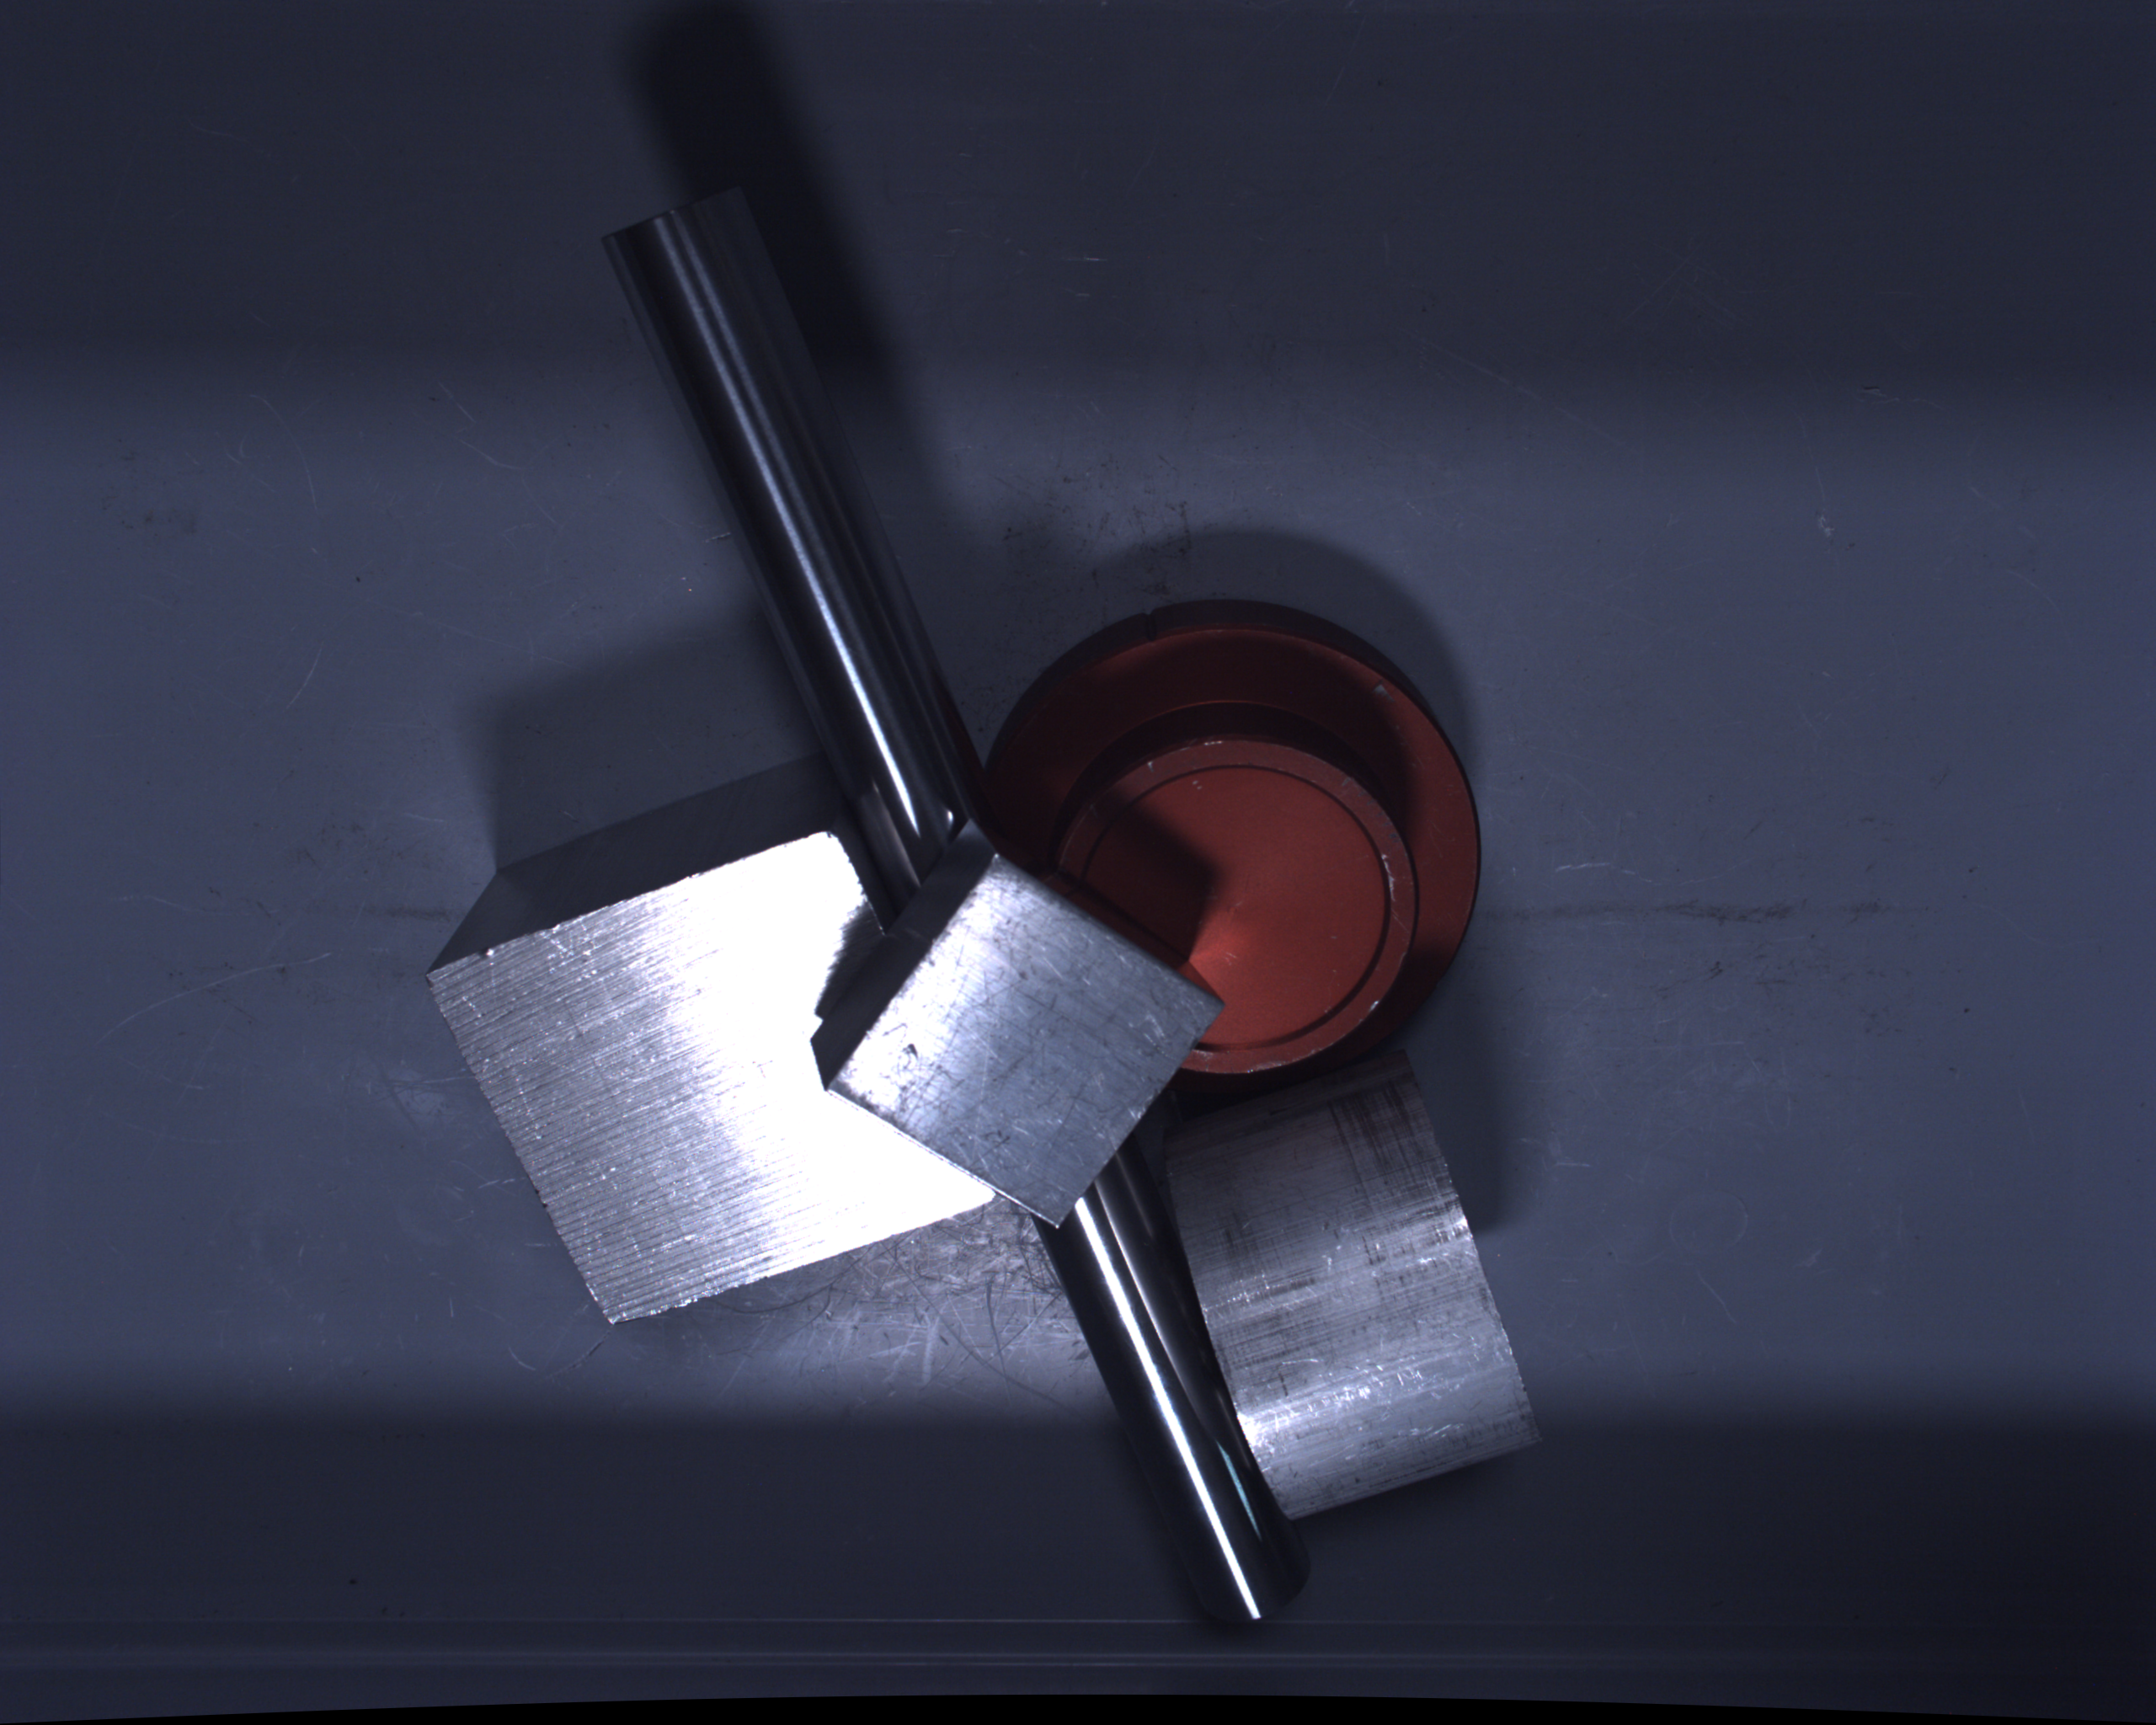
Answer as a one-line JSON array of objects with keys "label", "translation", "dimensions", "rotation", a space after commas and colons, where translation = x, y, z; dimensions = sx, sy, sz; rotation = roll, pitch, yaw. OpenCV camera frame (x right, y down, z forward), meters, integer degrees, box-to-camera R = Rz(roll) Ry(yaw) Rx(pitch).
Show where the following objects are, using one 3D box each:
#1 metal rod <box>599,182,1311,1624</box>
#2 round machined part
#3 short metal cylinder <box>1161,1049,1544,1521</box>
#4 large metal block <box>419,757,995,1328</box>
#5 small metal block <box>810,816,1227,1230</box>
[{"label": "metal rod", "translation": [-0.015, 0.022, 0.395], "dimensions": [0.025, 0.025, 0.299], "rotation": [-20, 109, 7]}, {"label": "round machined part", "translation": [0.029, 0.002, 0.401], "dimensions": [0.099, 0.042, 0.097], "rotation": [0, 110, -1]}, {"label": "short metal cylinder", "translation": [0.054, 0.083, 0.412], "dimensions": [0.050, 0.080, 0.080], "rotation": [-20, 109, 7]}, {"label": "large metal block", "translation": [-0.066, 0.032, 0.405], "dimensions": [0.080, 0.050, 0.080], "rotation": [-19, 109, 6]}, {"label": "small metal block", "translation": [-0.011, 0.028, 0.368], "dimensions": [0.050, 0.025, 0.050], "rotation": [34, 95, -19]}]
